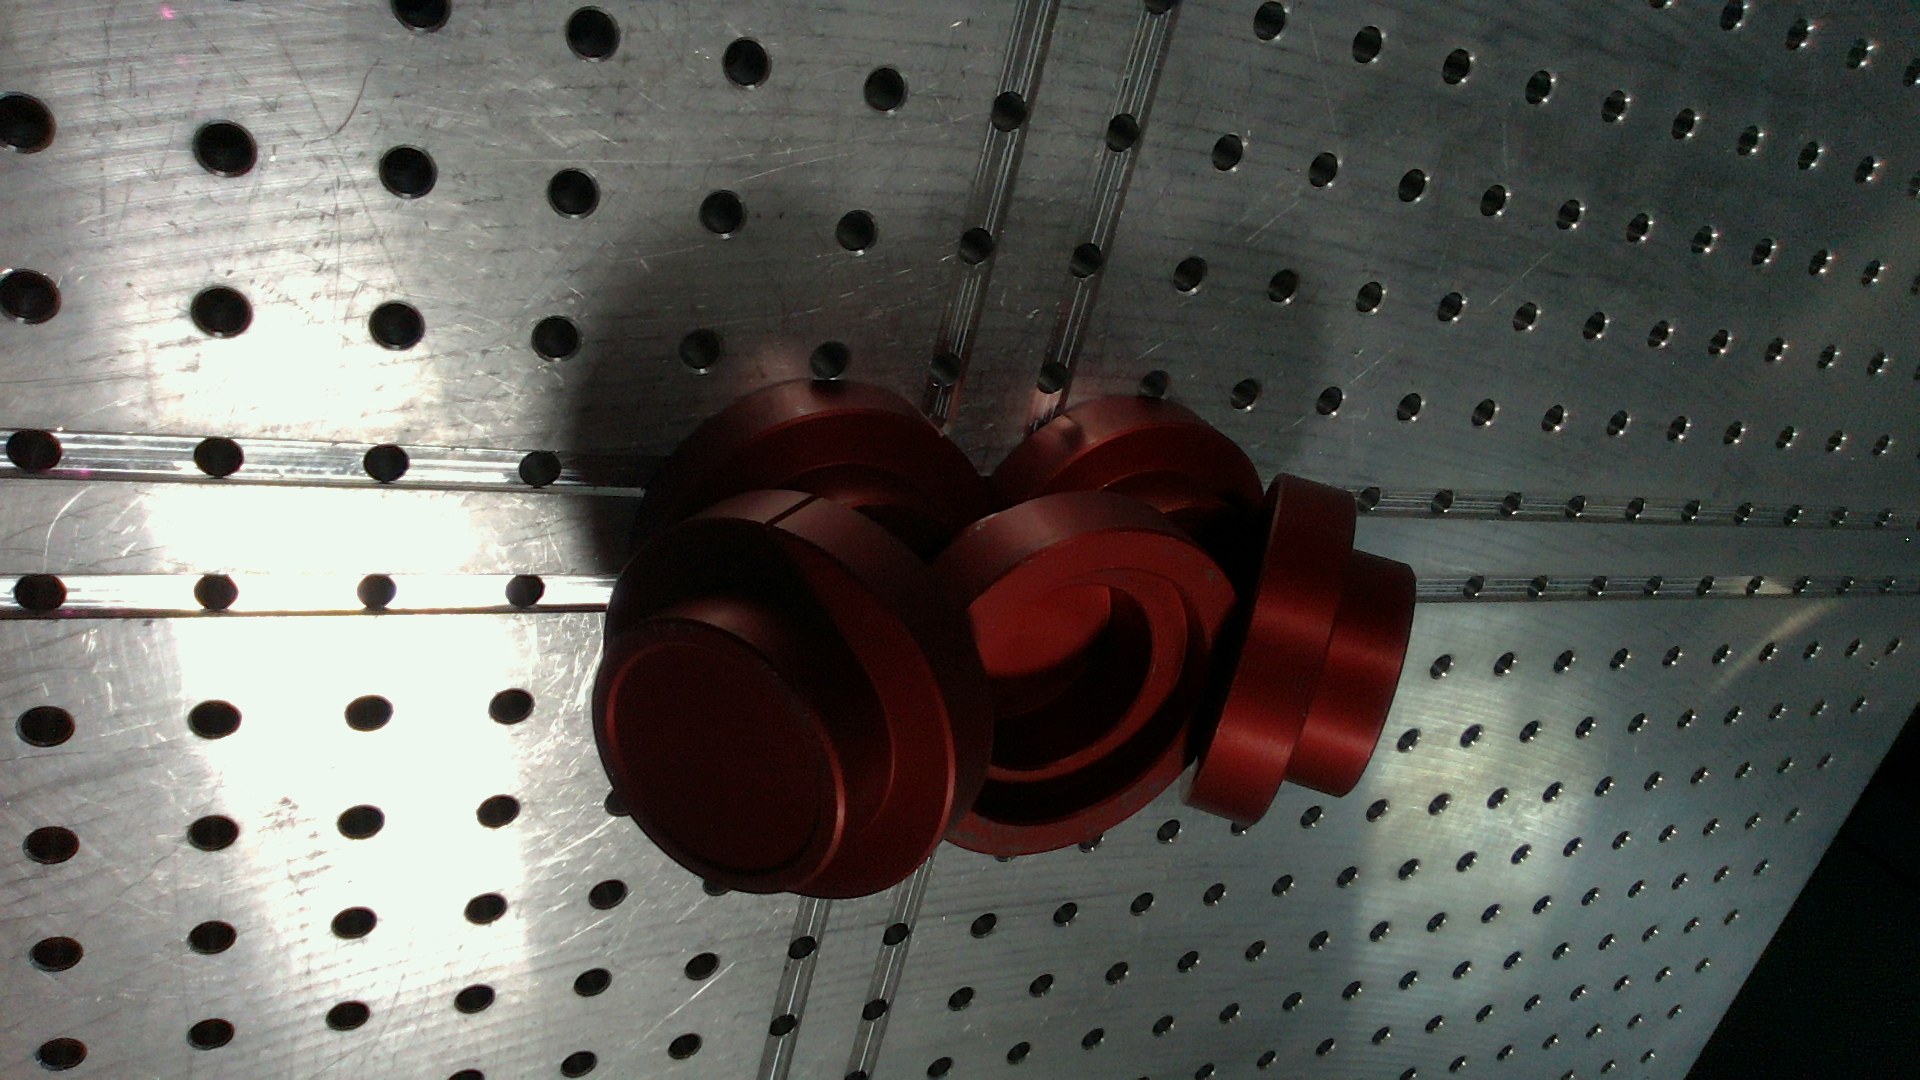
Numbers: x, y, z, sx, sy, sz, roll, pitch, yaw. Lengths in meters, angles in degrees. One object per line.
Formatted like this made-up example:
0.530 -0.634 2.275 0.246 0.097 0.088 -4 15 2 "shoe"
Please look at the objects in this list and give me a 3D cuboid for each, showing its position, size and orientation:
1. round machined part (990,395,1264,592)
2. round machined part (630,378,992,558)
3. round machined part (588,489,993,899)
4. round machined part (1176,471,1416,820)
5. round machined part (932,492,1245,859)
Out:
0.052 0.010 0.415 0.098 0.042 0.098 -14 124 -21 "round machined part"
-0.035 0.010 0.368 0.098 0.042 0.098 -14 124 -21 "round machined part"
-0.045 0.041 0.316 0.042 0.098 0.098 -38 143 -54 "round machined part"
0.096 0.033 0.388 0.042 0.098 0.098 18 115 8 "round machined part"
0.022 0.031 0.356 0.098 0.042 0.098 -14 124 -21 "round machined part"
